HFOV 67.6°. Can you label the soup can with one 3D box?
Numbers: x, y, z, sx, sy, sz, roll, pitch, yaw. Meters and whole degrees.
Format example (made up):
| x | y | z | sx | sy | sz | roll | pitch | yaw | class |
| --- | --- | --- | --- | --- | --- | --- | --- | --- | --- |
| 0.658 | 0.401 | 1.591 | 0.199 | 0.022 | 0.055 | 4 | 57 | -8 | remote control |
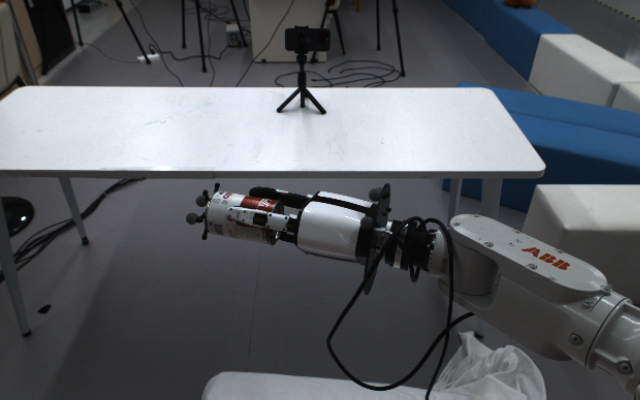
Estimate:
| x | y | z | sx | sy | sz | roll | pitch | yaw | class |
| --- | --- | --- | --- | --- | --- | --- | --- | --- | --- |
| -0.110 | 0.027 | 0.722 | 0.101 | 0.067 | 0.067 | 8 | 35 | 11 | soup can |
